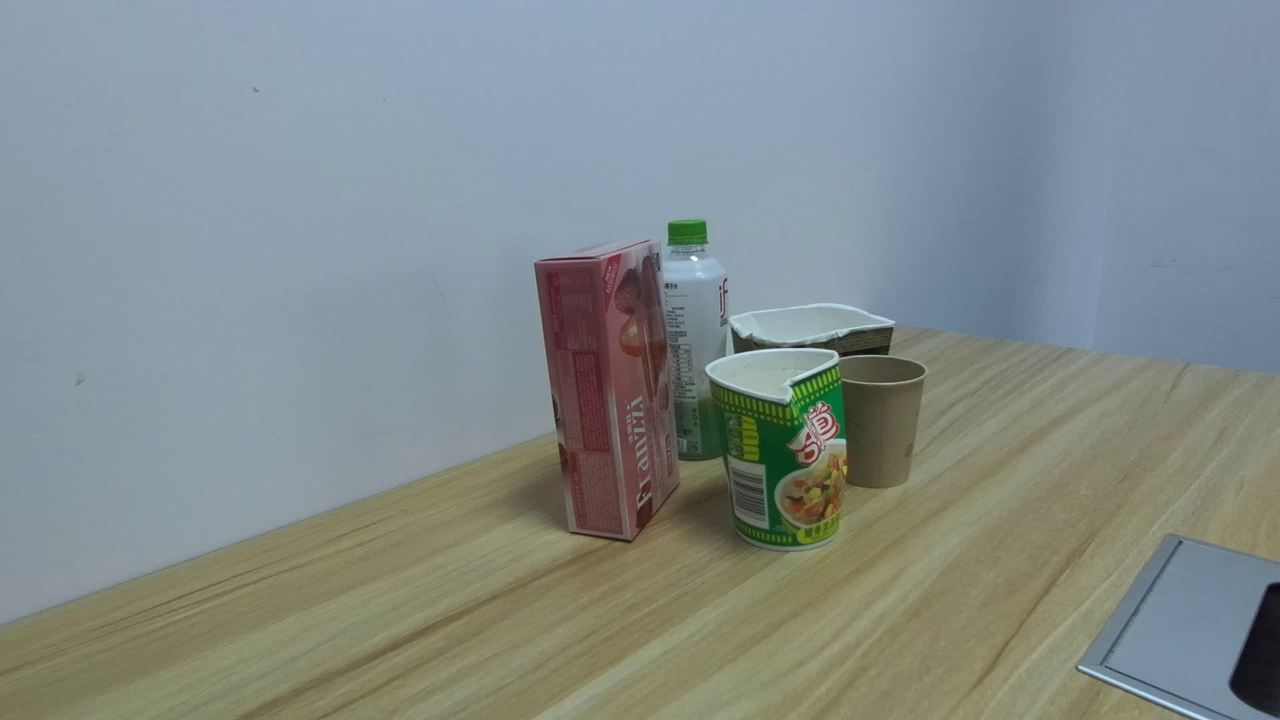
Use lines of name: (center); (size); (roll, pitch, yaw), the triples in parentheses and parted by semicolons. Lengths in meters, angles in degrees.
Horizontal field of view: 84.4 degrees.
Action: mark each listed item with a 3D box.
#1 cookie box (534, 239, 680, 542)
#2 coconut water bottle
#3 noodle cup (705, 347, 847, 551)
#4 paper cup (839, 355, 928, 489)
cookie box: (-0.016, 0.017, 0.481); (0.048, 0.184, 0.096); (1, 16, 23)
coconut water bottle: (0.044, -0.017, 0.577); (0.063, 0.188, 0.063); (-4, 15, 1)
noodle cup: (0.091, 0.055, 0.451); (0.094, 0.109, 0.086); (-15, 20, -33)
paper cup: (0.169, 0.046, 0.518); (0.075, 0.082, 0.075); (-4, 15, 1)
